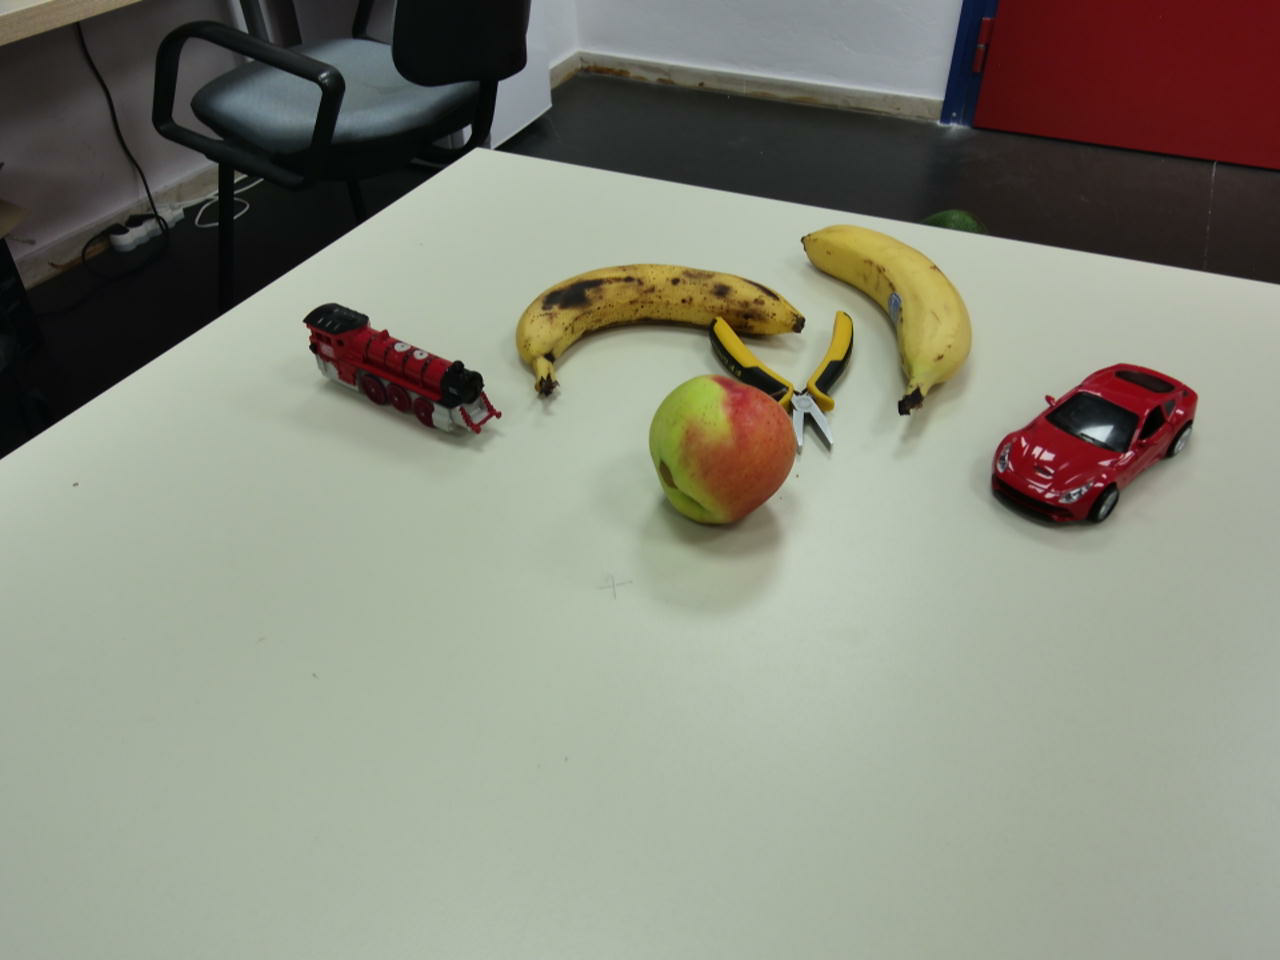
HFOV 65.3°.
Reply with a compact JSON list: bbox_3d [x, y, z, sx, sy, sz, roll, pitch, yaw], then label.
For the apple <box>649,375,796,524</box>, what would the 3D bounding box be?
[{"bbox_3d":[0.041,-0.015,0.522,0.075,0.074,0.075,3,38,5],"label":"apple"}]
